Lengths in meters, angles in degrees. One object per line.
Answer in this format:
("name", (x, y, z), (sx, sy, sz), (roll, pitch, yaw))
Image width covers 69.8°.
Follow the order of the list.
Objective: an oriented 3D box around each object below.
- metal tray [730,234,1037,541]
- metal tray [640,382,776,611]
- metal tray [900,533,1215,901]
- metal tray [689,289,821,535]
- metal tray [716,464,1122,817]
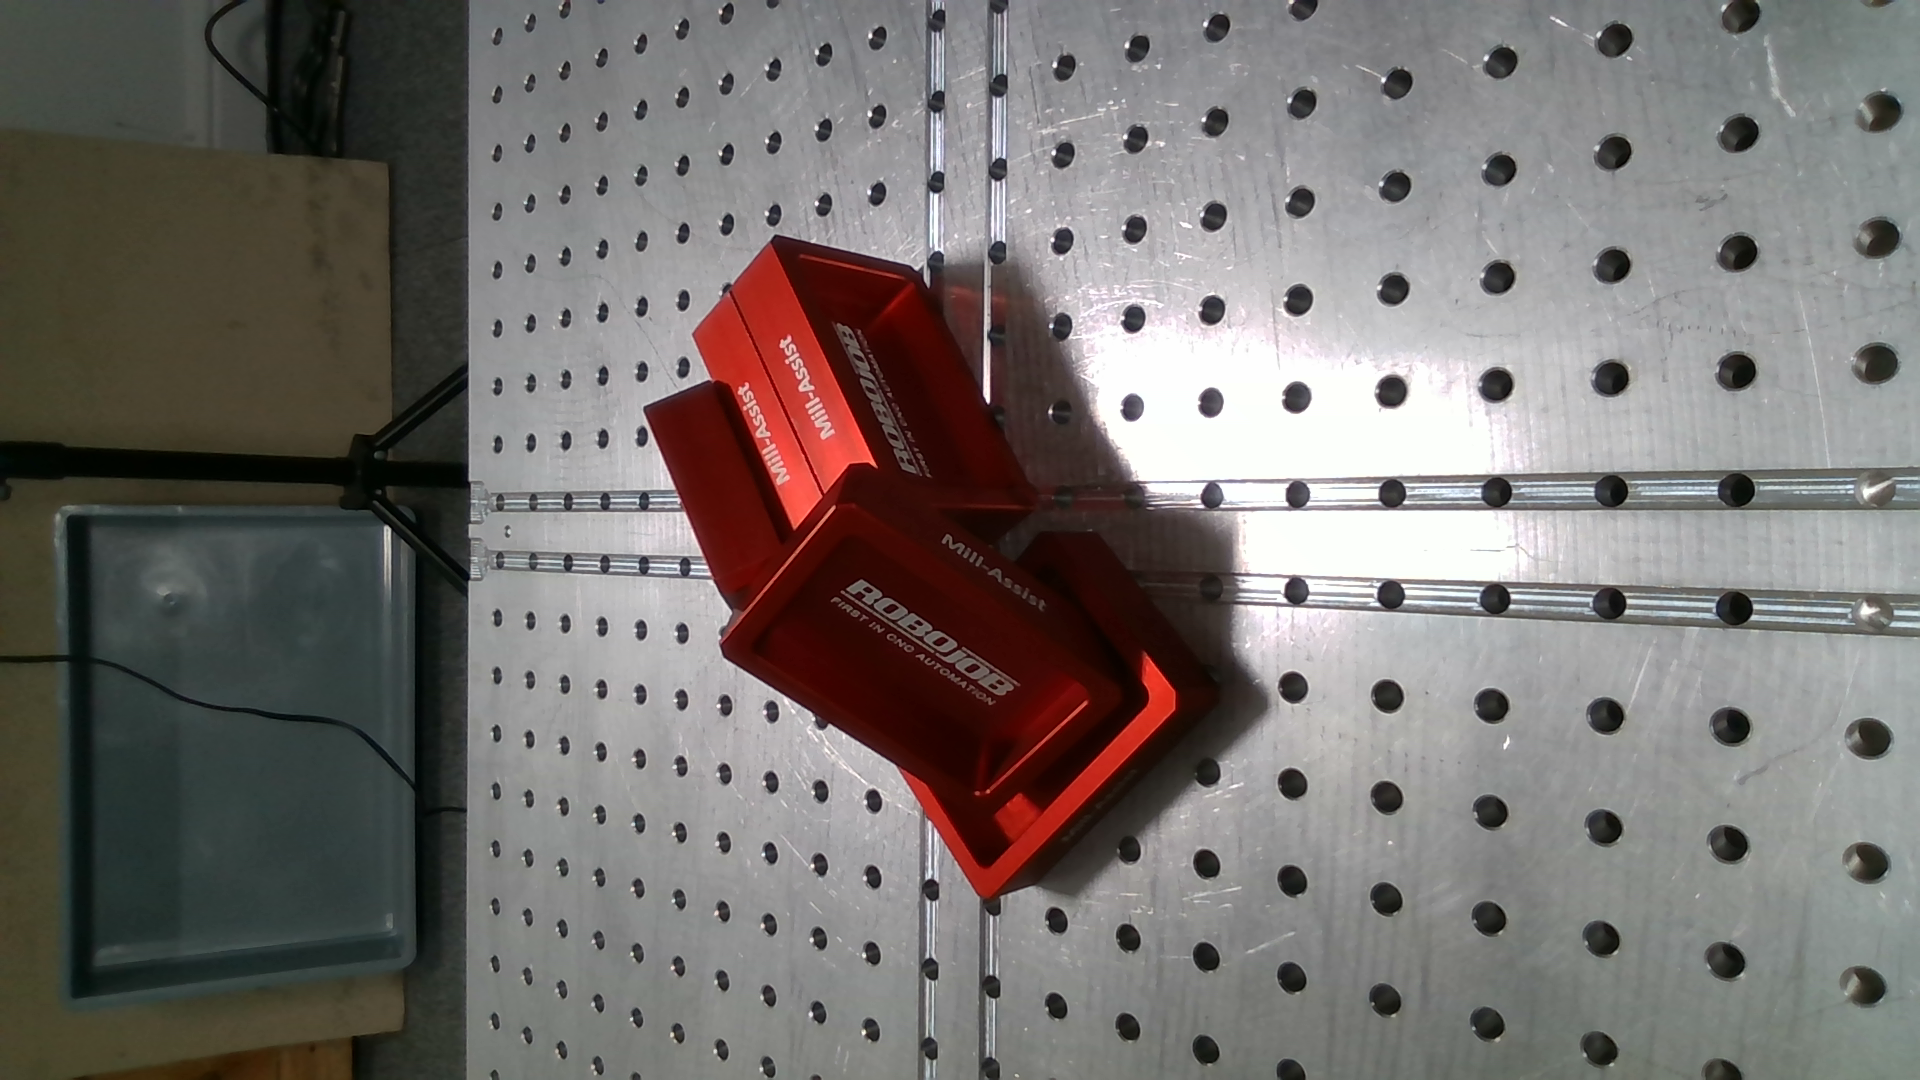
("metal tray", (-0.031, -0.061, 0.567), (0.030, 0.090, 0.130), (-40, 66, 33))
("metal tray", (-0.096, 0.000, 0.606), (0.030, 0.130, 0.090), (-24, 70, -6))
("metal tray", (0.030, 0.071, 0.556), (0.130, 0.030, 0.090), (-51, 60, 28))
("metal tray", (-0.051, -0.043, 0.583), (0.030, 0.090, 0.130), (-40, 66, 33))
("metal tray", (-0.014, 0.042, 0.523), (0.130, 0.030, 0.090), (34, 121, -14))
